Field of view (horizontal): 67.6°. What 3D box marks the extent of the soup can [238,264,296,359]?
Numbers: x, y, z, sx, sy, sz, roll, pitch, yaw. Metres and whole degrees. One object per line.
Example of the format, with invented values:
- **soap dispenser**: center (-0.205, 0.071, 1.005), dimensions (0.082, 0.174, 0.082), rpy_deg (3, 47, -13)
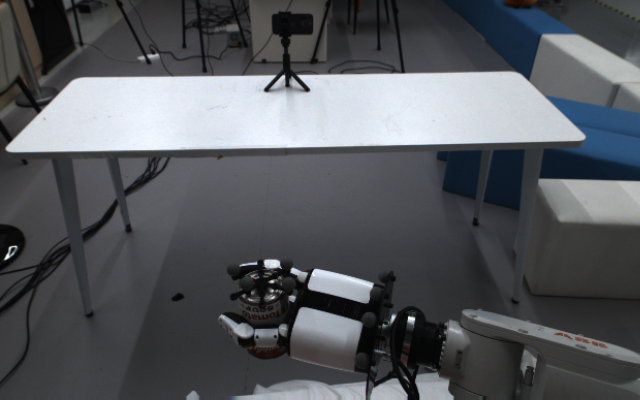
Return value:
- **soup can**: center (-0.071, 0.152, 0.645), dimensions (0.067, 0.101, 0.067), rpy_deg (-3, 32, 2)
